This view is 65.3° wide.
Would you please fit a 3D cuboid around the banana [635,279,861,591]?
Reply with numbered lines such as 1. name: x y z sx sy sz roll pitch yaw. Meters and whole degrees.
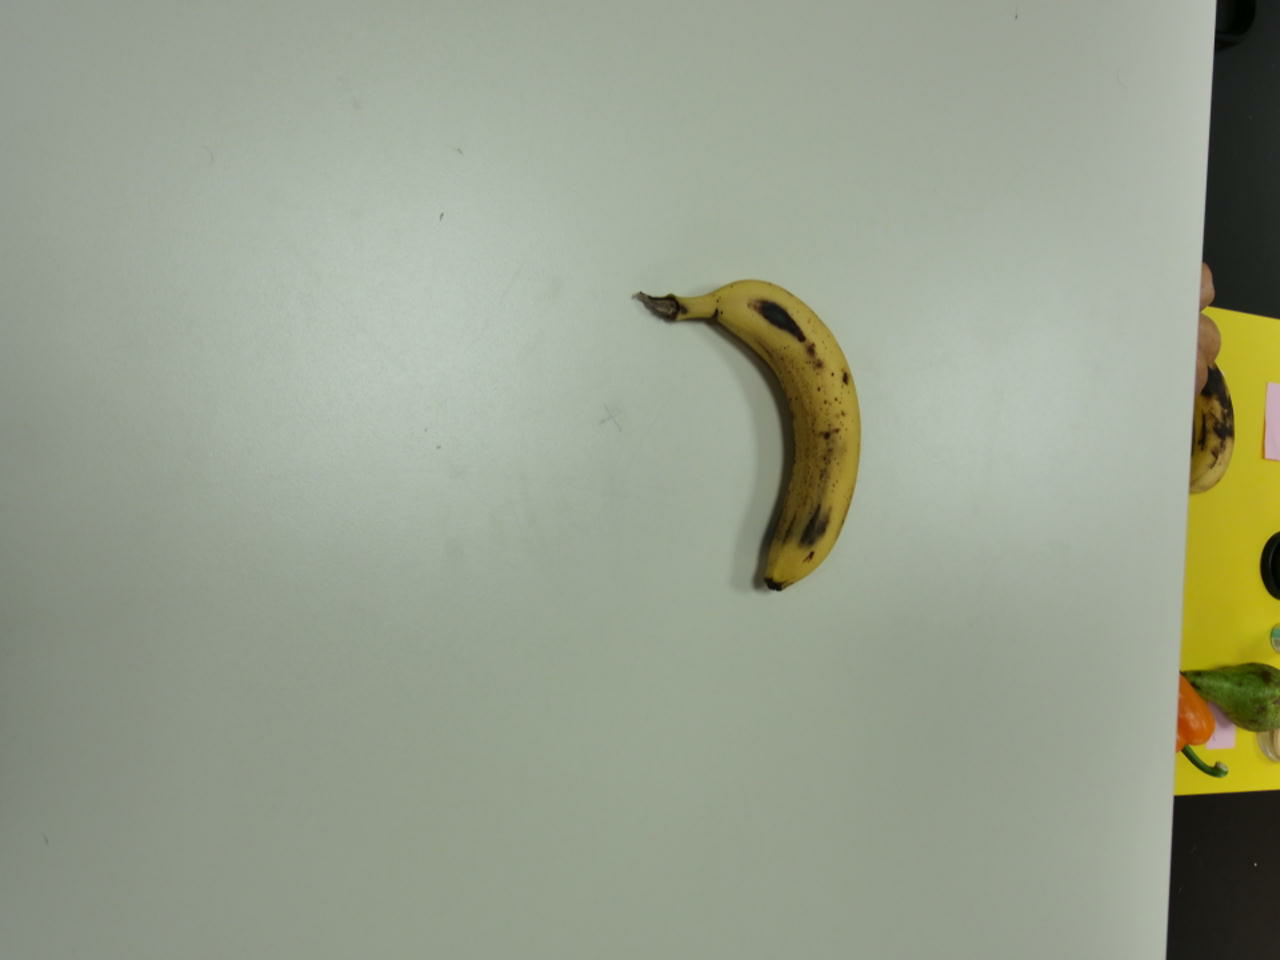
1. banana: 0.084 -0.036 0.588 0.097 0.038 0.186 -25 99 -20
